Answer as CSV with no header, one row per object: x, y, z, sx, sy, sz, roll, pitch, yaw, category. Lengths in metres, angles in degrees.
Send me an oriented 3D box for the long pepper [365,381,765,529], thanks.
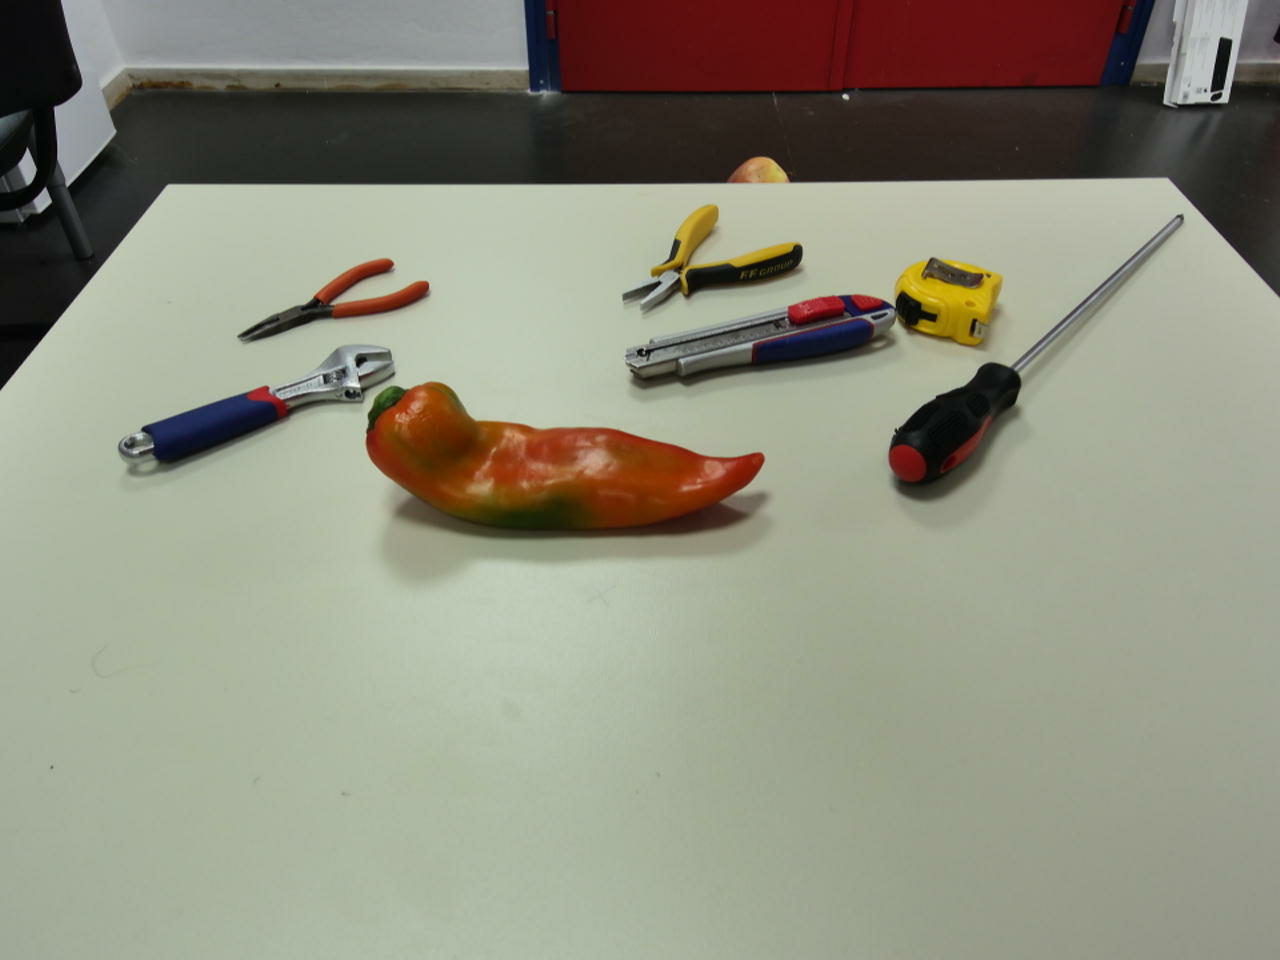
-0.037,-0.015,0.501,0.199,0.065,0.066,3,39,4,long pepper
